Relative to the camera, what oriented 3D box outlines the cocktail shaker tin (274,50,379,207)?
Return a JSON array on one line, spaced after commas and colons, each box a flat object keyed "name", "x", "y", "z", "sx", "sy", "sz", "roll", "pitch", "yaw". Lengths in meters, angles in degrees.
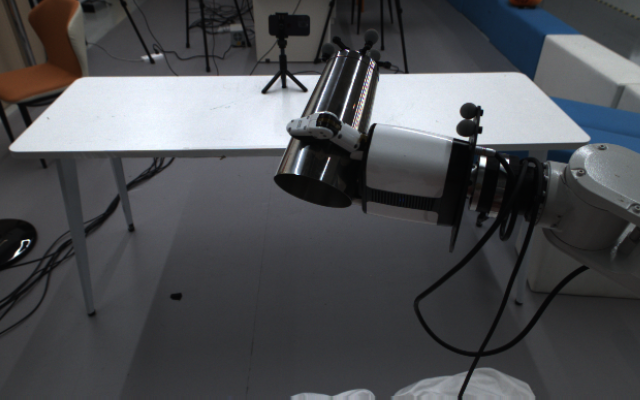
[{"name": "cocktail shaker tin", "x": 0.015, "y": -0.086, "z": 0.567, "sx": 0.093, "sy": 0.093, "sz": 0.170, "roll": 14, "pitch": 72, "yaw": 16}]
